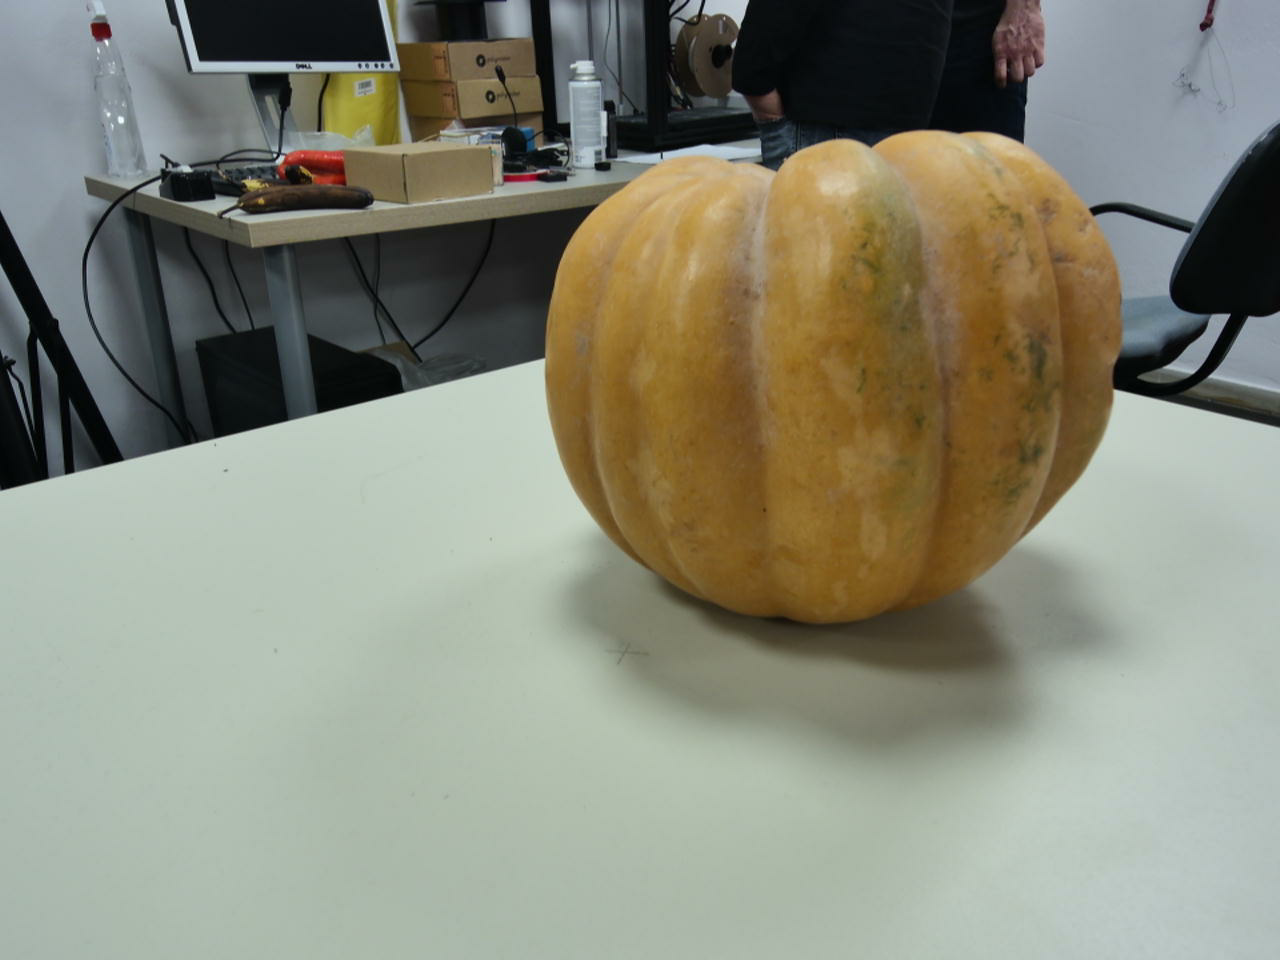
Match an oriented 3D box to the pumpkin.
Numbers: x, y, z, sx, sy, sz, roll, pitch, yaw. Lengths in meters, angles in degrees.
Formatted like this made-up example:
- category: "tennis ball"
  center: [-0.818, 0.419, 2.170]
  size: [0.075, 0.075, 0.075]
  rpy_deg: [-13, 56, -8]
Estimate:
- category: "pumpkin"
  center: [0.074, -0.044, 0.417]
  size: [0.230, 0.194, 0.230]
  rpy_deg: [0, 22, 0]
